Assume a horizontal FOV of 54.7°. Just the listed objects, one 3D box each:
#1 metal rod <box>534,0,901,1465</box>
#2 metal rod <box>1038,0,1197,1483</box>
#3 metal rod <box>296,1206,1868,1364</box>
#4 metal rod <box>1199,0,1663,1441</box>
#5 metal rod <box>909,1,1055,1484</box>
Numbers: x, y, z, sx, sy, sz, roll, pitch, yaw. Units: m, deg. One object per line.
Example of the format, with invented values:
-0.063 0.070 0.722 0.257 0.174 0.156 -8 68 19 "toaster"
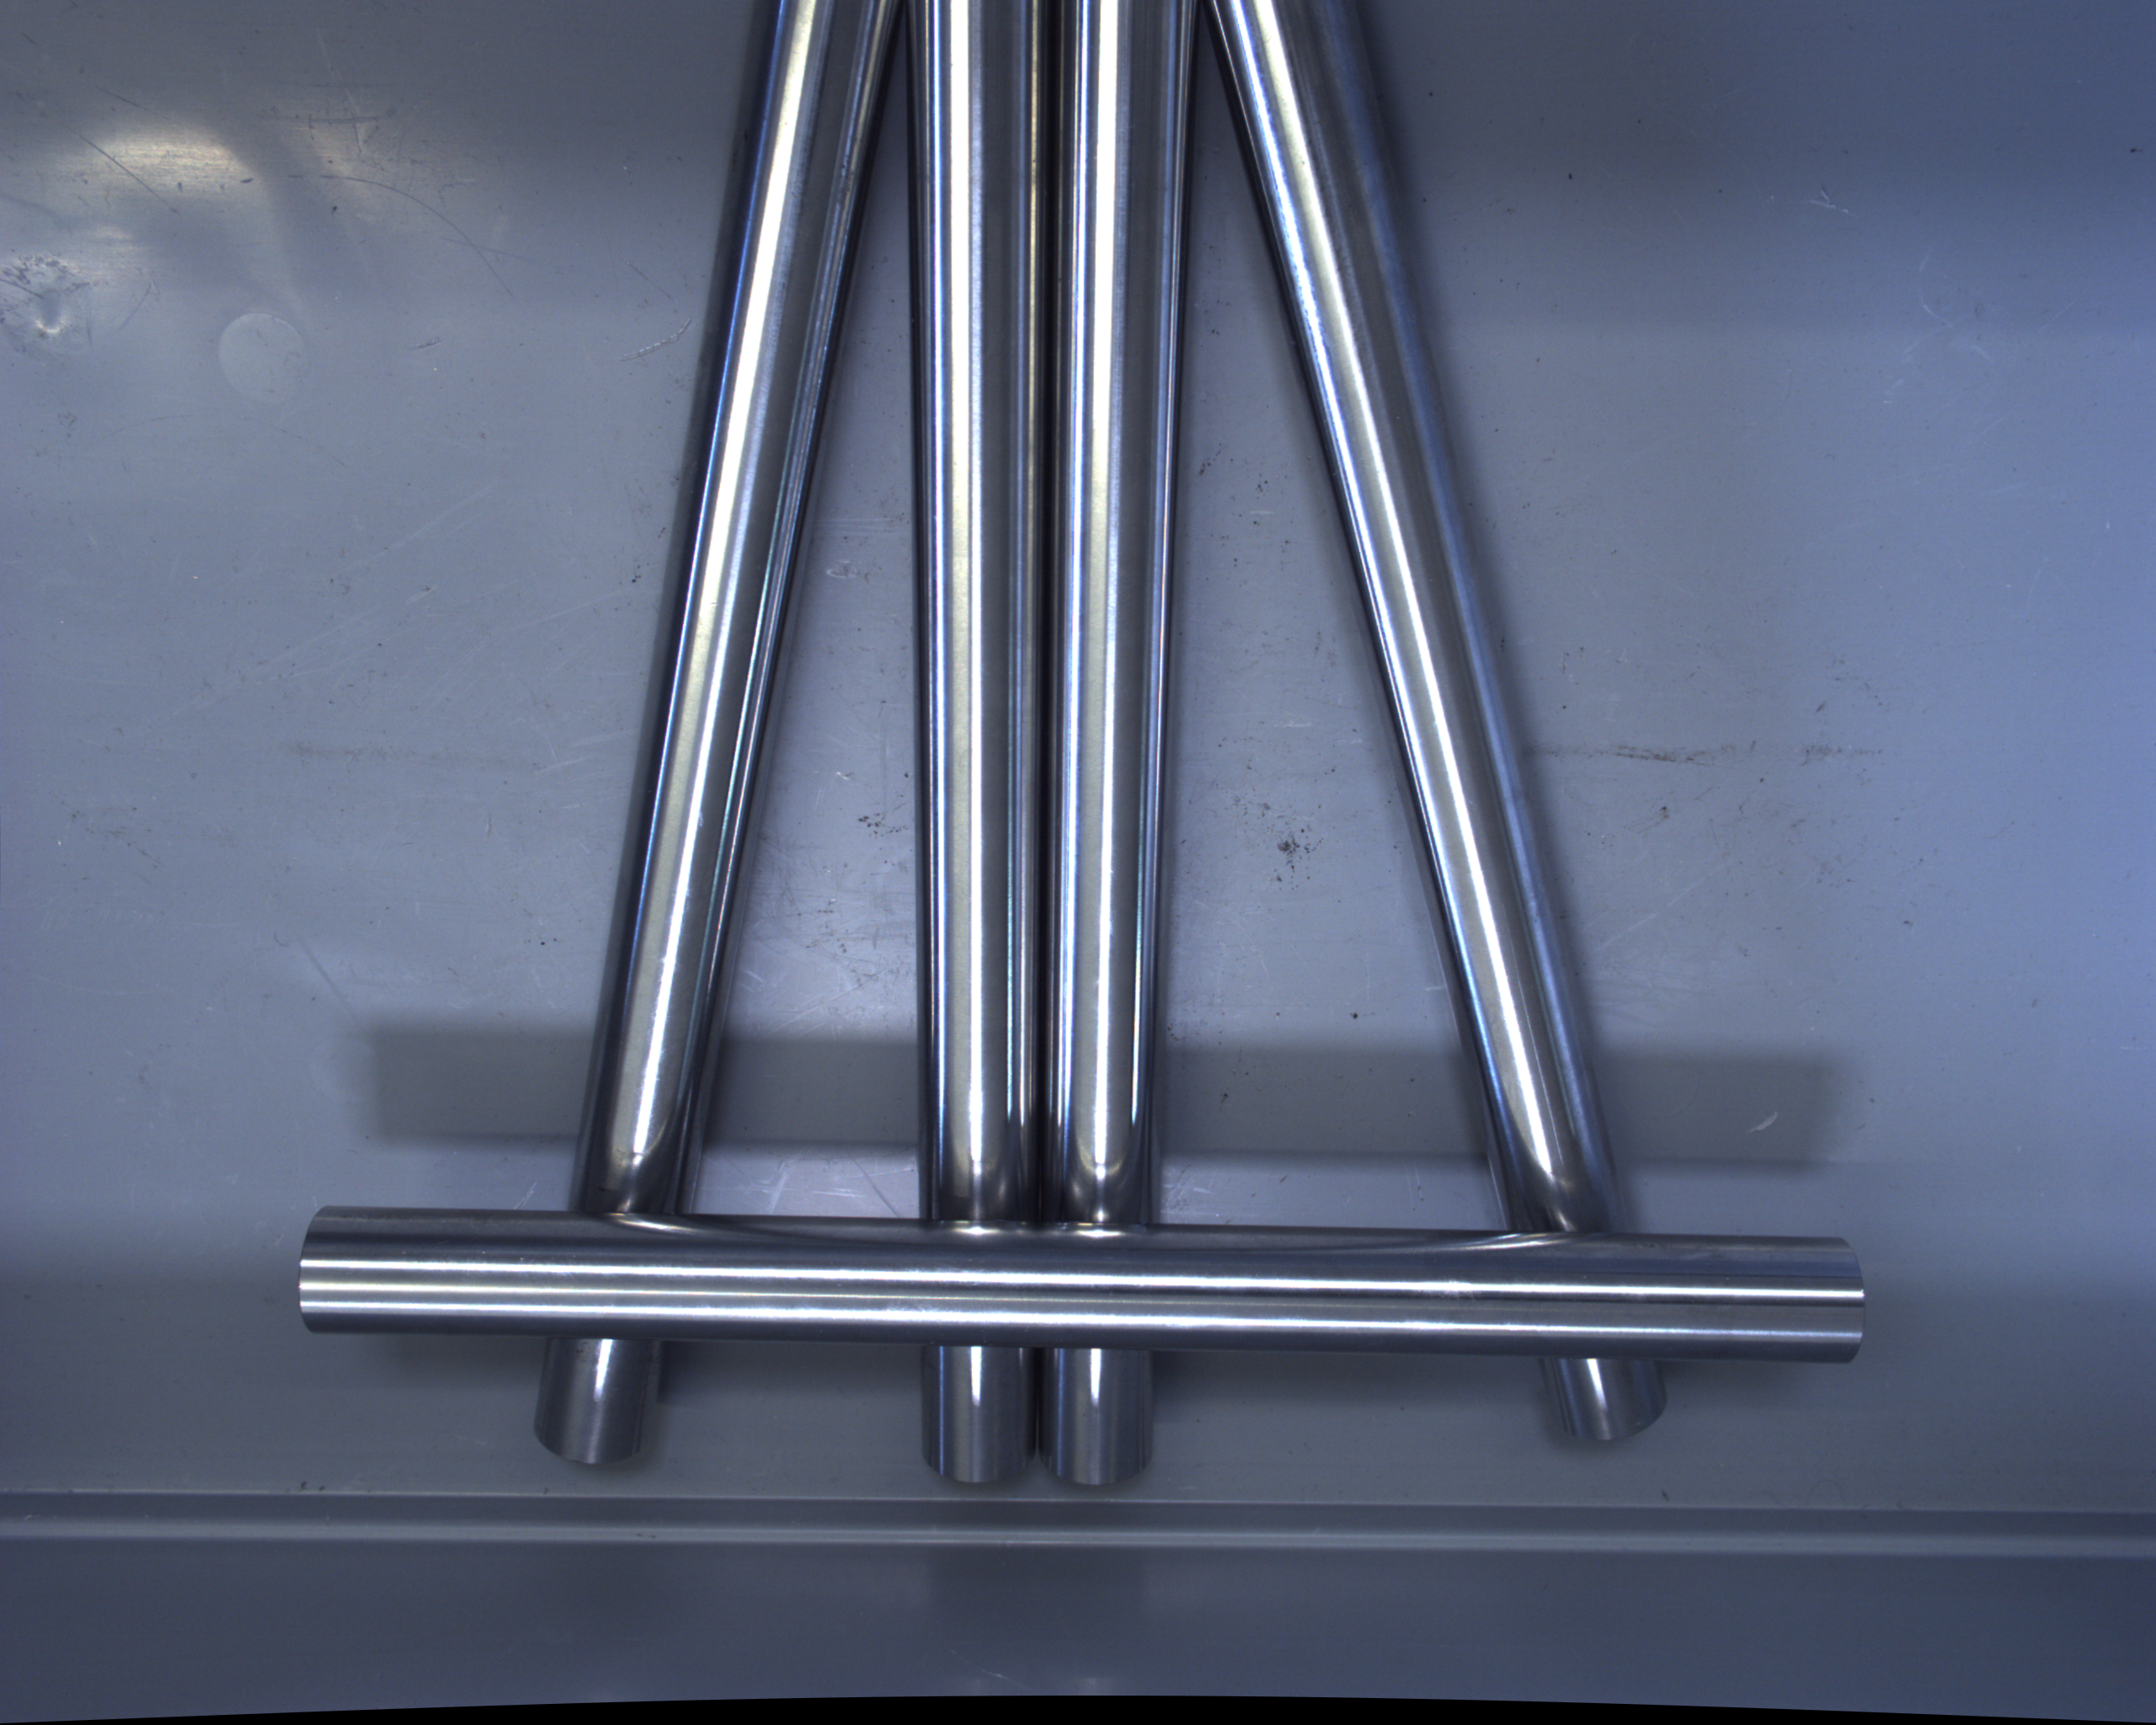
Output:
-0.074 -0.013 0.404 0.025 0.025 0.298 11 110 -4 "metal rod"
0.006 -0.011 0.406 0.025 0.025 0.298 1 110 0 "metal rod"
0.001 0.083 0.413 0.302 0.025 0.025 1 110 -1 "metal rod"
0.074 -0.017 0.404 0.025 0.025 0.298 -15 110 5 "metal rod"
-0.019 -0.011 0.406 0.025 0.025 0.298 1 110 -1 "metal rod"
